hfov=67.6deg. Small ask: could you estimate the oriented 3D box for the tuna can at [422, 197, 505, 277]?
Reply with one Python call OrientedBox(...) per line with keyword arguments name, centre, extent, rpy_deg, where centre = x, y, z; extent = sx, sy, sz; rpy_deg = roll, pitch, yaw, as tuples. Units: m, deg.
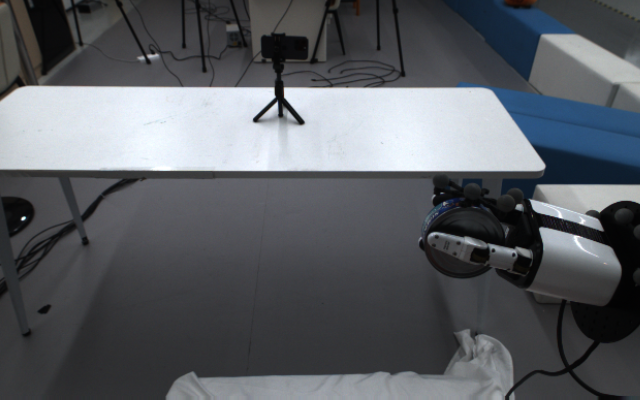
OrientedBox(name="tuna can", centre=(0.159, 0.038, 0.536), extent=(0.085, 0.085, 0.034), rpy_deg=(4, 19, 3))
